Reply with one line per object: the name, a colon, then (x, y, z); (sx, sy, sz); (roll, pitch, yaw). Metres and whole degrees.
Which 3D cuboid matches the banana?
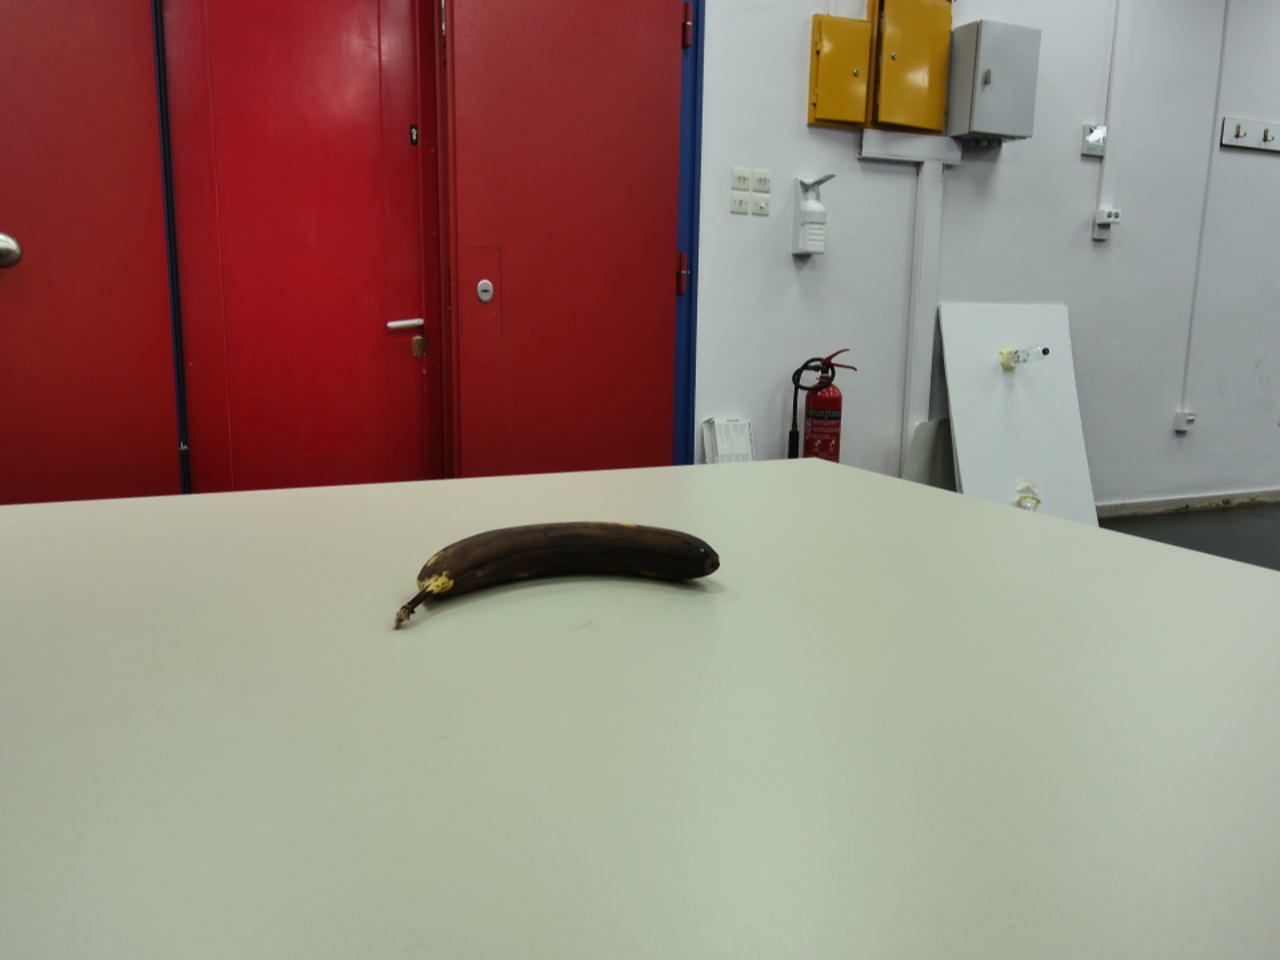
banana: (-0.052, 0.046, 0.573); (0.188, 0.033, 0.091); (-4, 8, -23)
